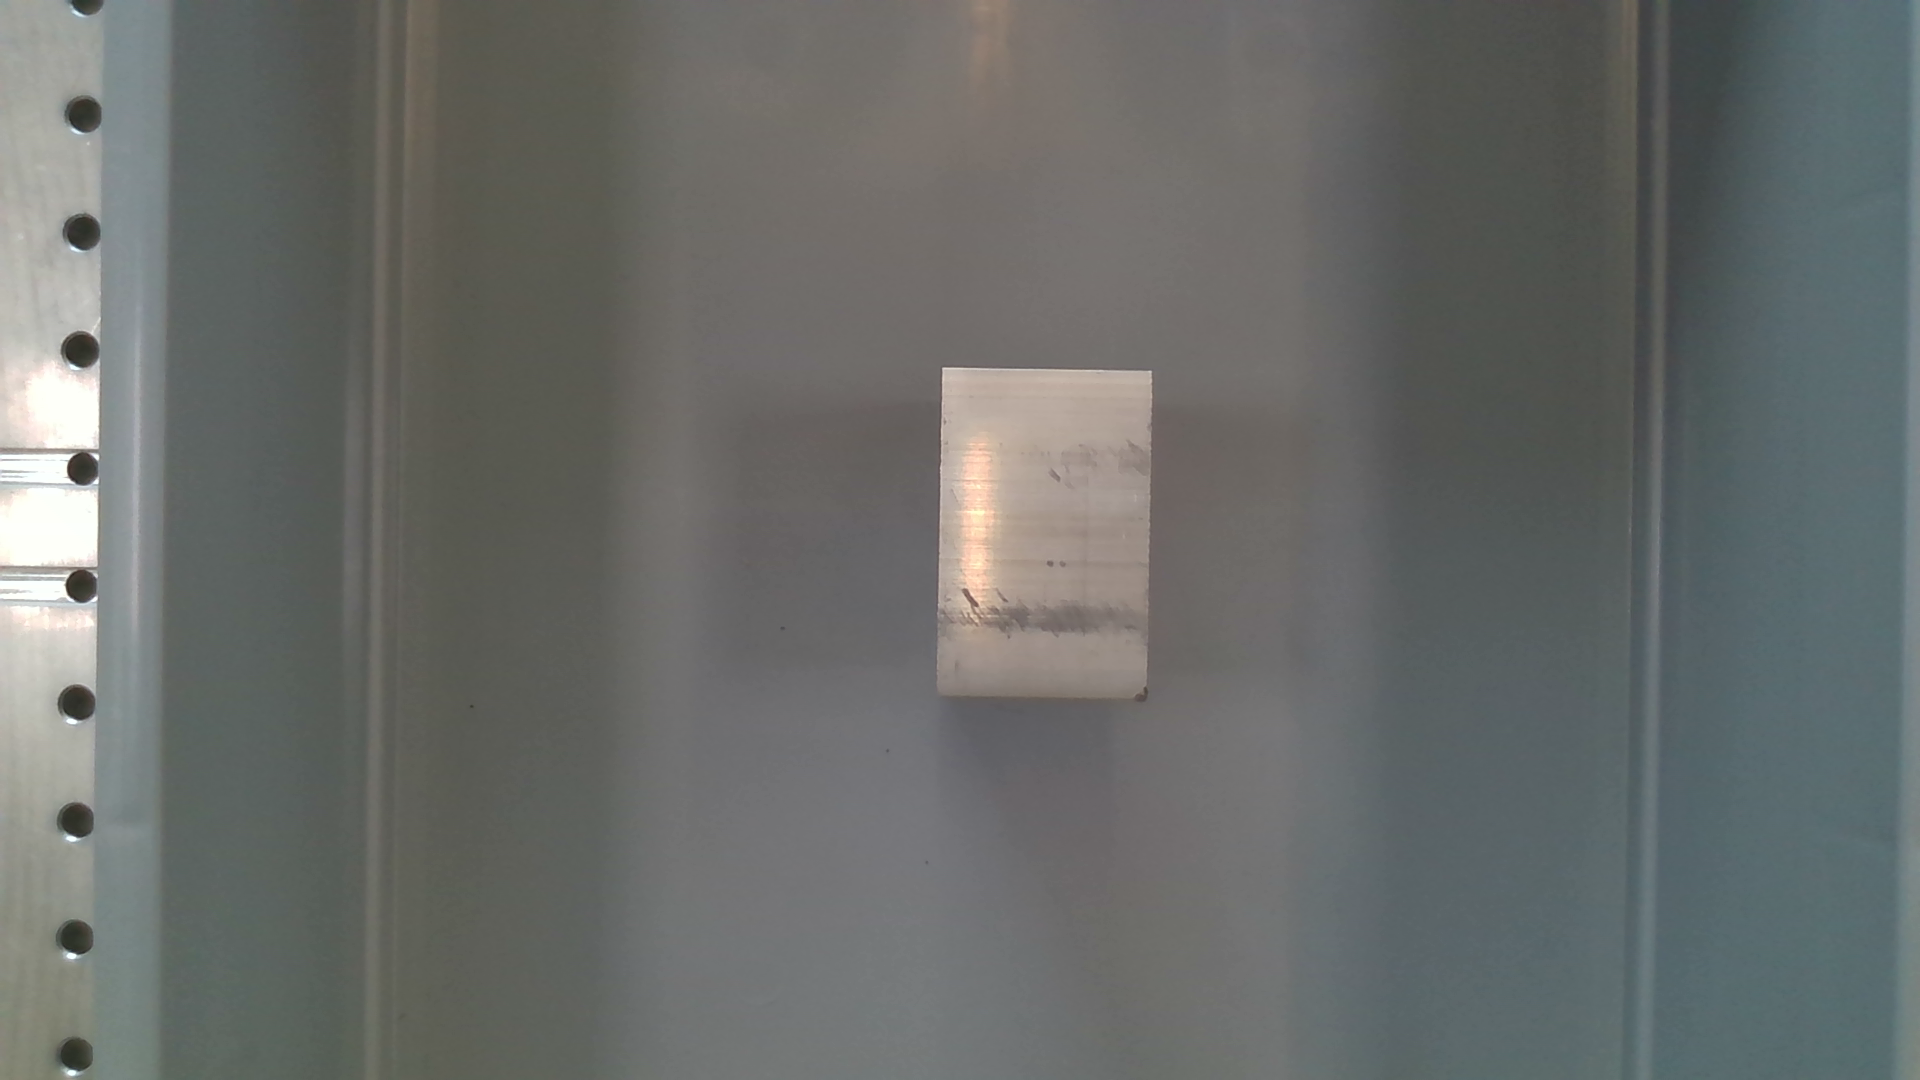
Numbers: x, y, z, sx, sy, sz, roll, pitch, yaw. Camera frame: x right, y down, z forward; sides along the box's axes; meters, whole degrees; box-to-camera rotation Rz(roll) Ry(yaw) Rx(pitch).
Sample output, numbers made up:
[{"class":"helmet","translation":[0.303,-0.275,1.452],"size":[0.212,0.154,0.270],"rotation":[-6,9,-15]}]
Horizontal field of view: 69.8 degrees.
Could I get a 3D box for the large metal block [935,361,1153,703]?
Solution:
[{"class":"large metal block","translation":[0.020,-0.002,0.366],"size":[0.050,0.080,0.080],"rotation":[1,90,0]}]
